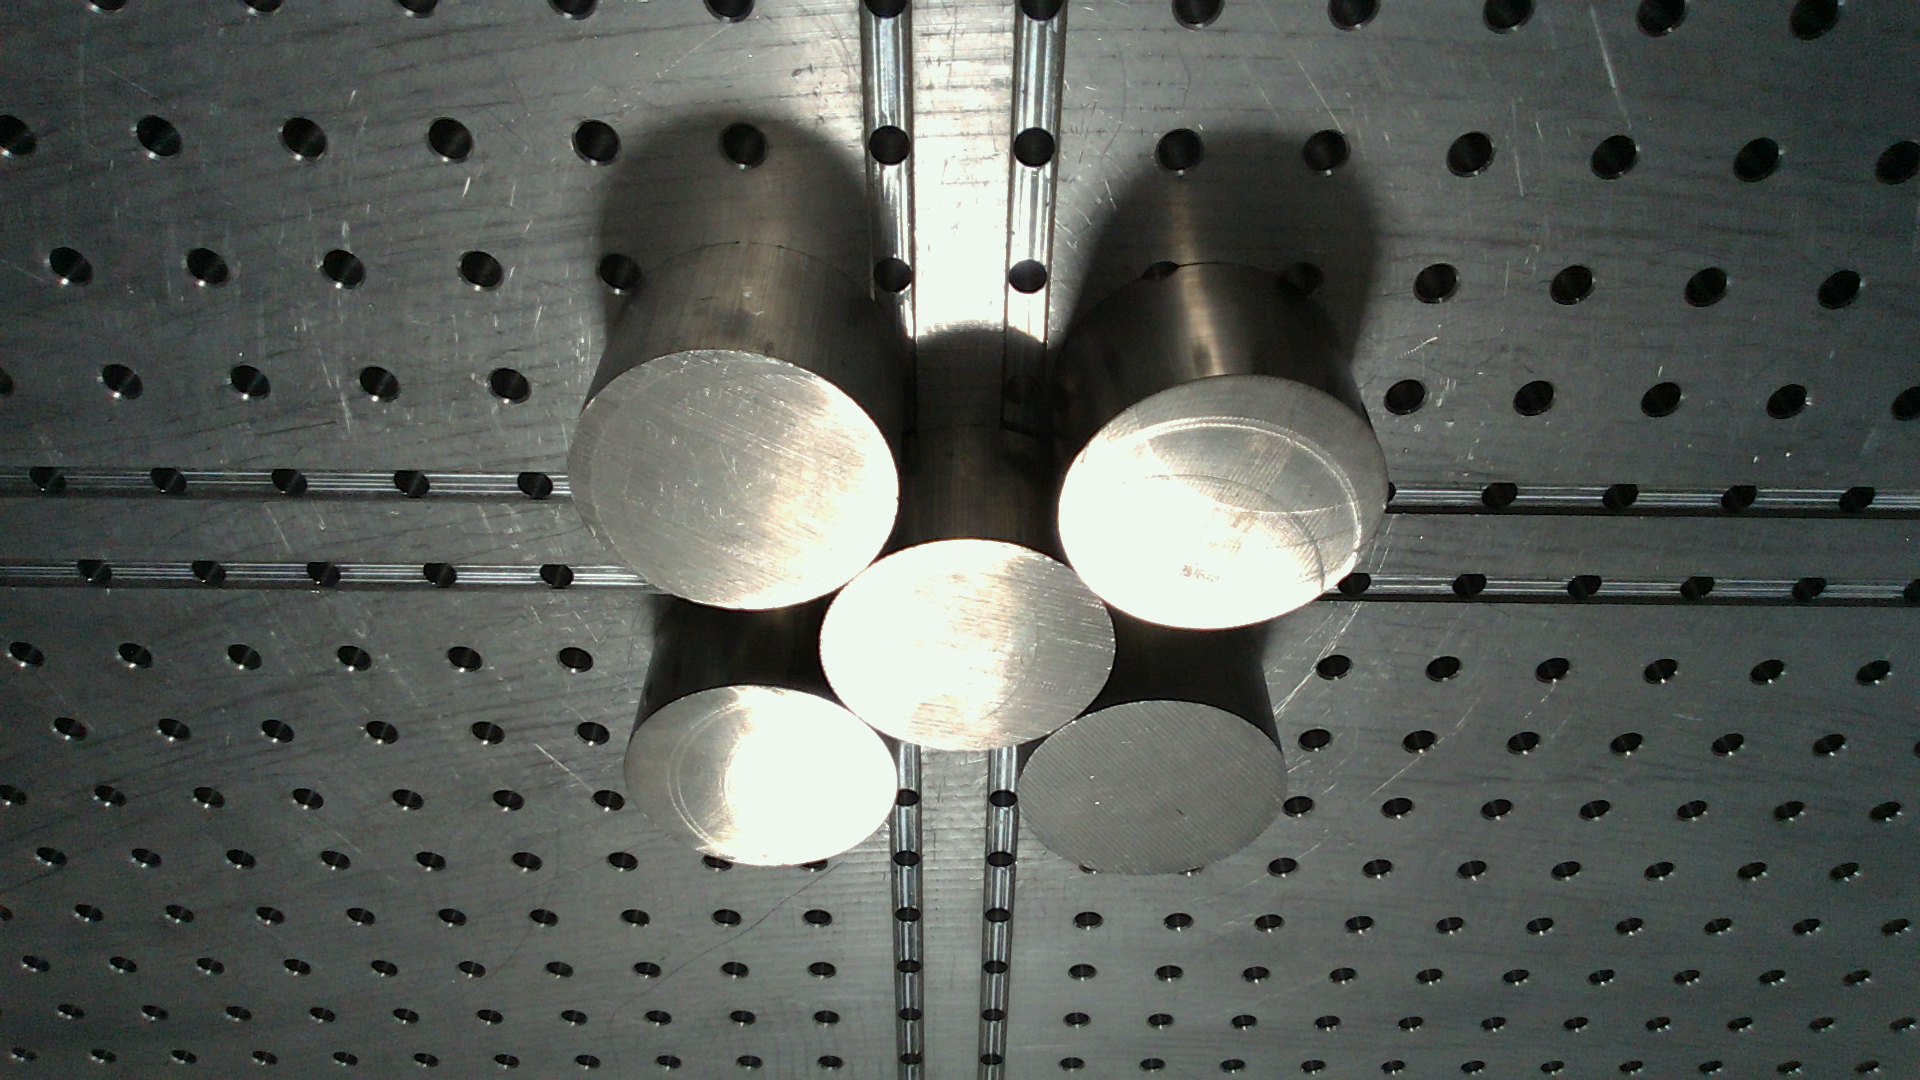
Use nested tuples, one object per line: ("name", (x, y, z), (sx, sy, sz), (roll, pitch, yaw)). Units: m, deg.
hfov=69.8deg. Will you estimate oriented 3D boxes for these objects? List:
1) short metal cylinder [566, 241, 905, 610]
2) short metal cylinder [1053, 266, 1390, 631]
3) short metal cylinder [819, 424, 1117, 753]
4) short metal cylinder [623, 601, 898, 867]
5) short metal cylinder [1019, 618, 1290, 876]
("short metal cylinder", (-0.055, -0.028, 0.352), (0.080, 0.050, 0.080), (0, 130, 0))
("short metal cylinder", (0.064, -0.023, 0.356), (0.080, 0.050, 0.080), (0, 130, 0))
("short metal cylinder", (0.002, 0.015, 0.389), (0.080, 0.050, 0.080), (0, 130, 0))
("short metal cylinder", (-0.058, 0.055, 0.422), (0.080, 0.050, 0.080), (0, 130, 0))
("short metal cylinder", (0.058, 0.059, 0.427), (0.080, 0.050, 0.080), (0, 130, 0))
